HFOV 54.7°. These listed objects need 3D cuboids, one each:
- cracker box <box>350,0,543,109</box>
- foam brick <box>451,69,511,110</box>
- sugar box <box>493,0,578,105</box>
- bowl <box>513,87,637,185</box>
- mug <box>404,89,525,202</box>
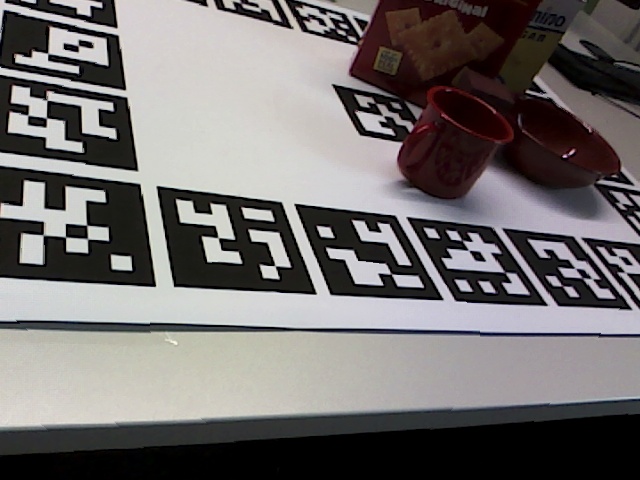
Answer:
[{"bbox_3d":[0.153,-0.265,0.725,0.164,0.214,0.072,24,34,-5],"label":"cracker box"},{"bbox_3d":[0.171,-0.143,0.707,0.052,0.078,0.051,15,37,-15],"label":"foam brick"},{"bbox_3d":[0.241,-0.255,0.794,0.092,0.176,0.045,19,37,-11],"label":"sugar box"},{"bbox_3d":[0.289,-0.115,0.740,0.161,0.055,0.162,17,38,-14],"label":"bowl"},{"bbox_3d":[0.129,-0.091,0.602,0.116,0.081,0.094,-4,38,-33],"label":"mug"}]
